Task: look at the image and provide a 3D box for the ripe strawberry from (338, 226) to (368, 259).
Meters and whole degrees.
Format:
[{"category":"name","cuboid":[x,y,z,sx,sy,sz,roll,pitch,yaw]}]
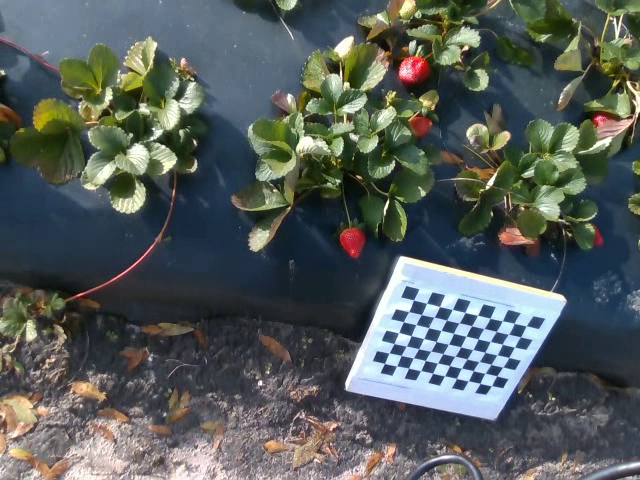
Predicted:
[{"category":"ripe strawberry","cuboid":[0.045,0.006,0.854,0.041,0.047,0.041,-7,-27,10]}]
